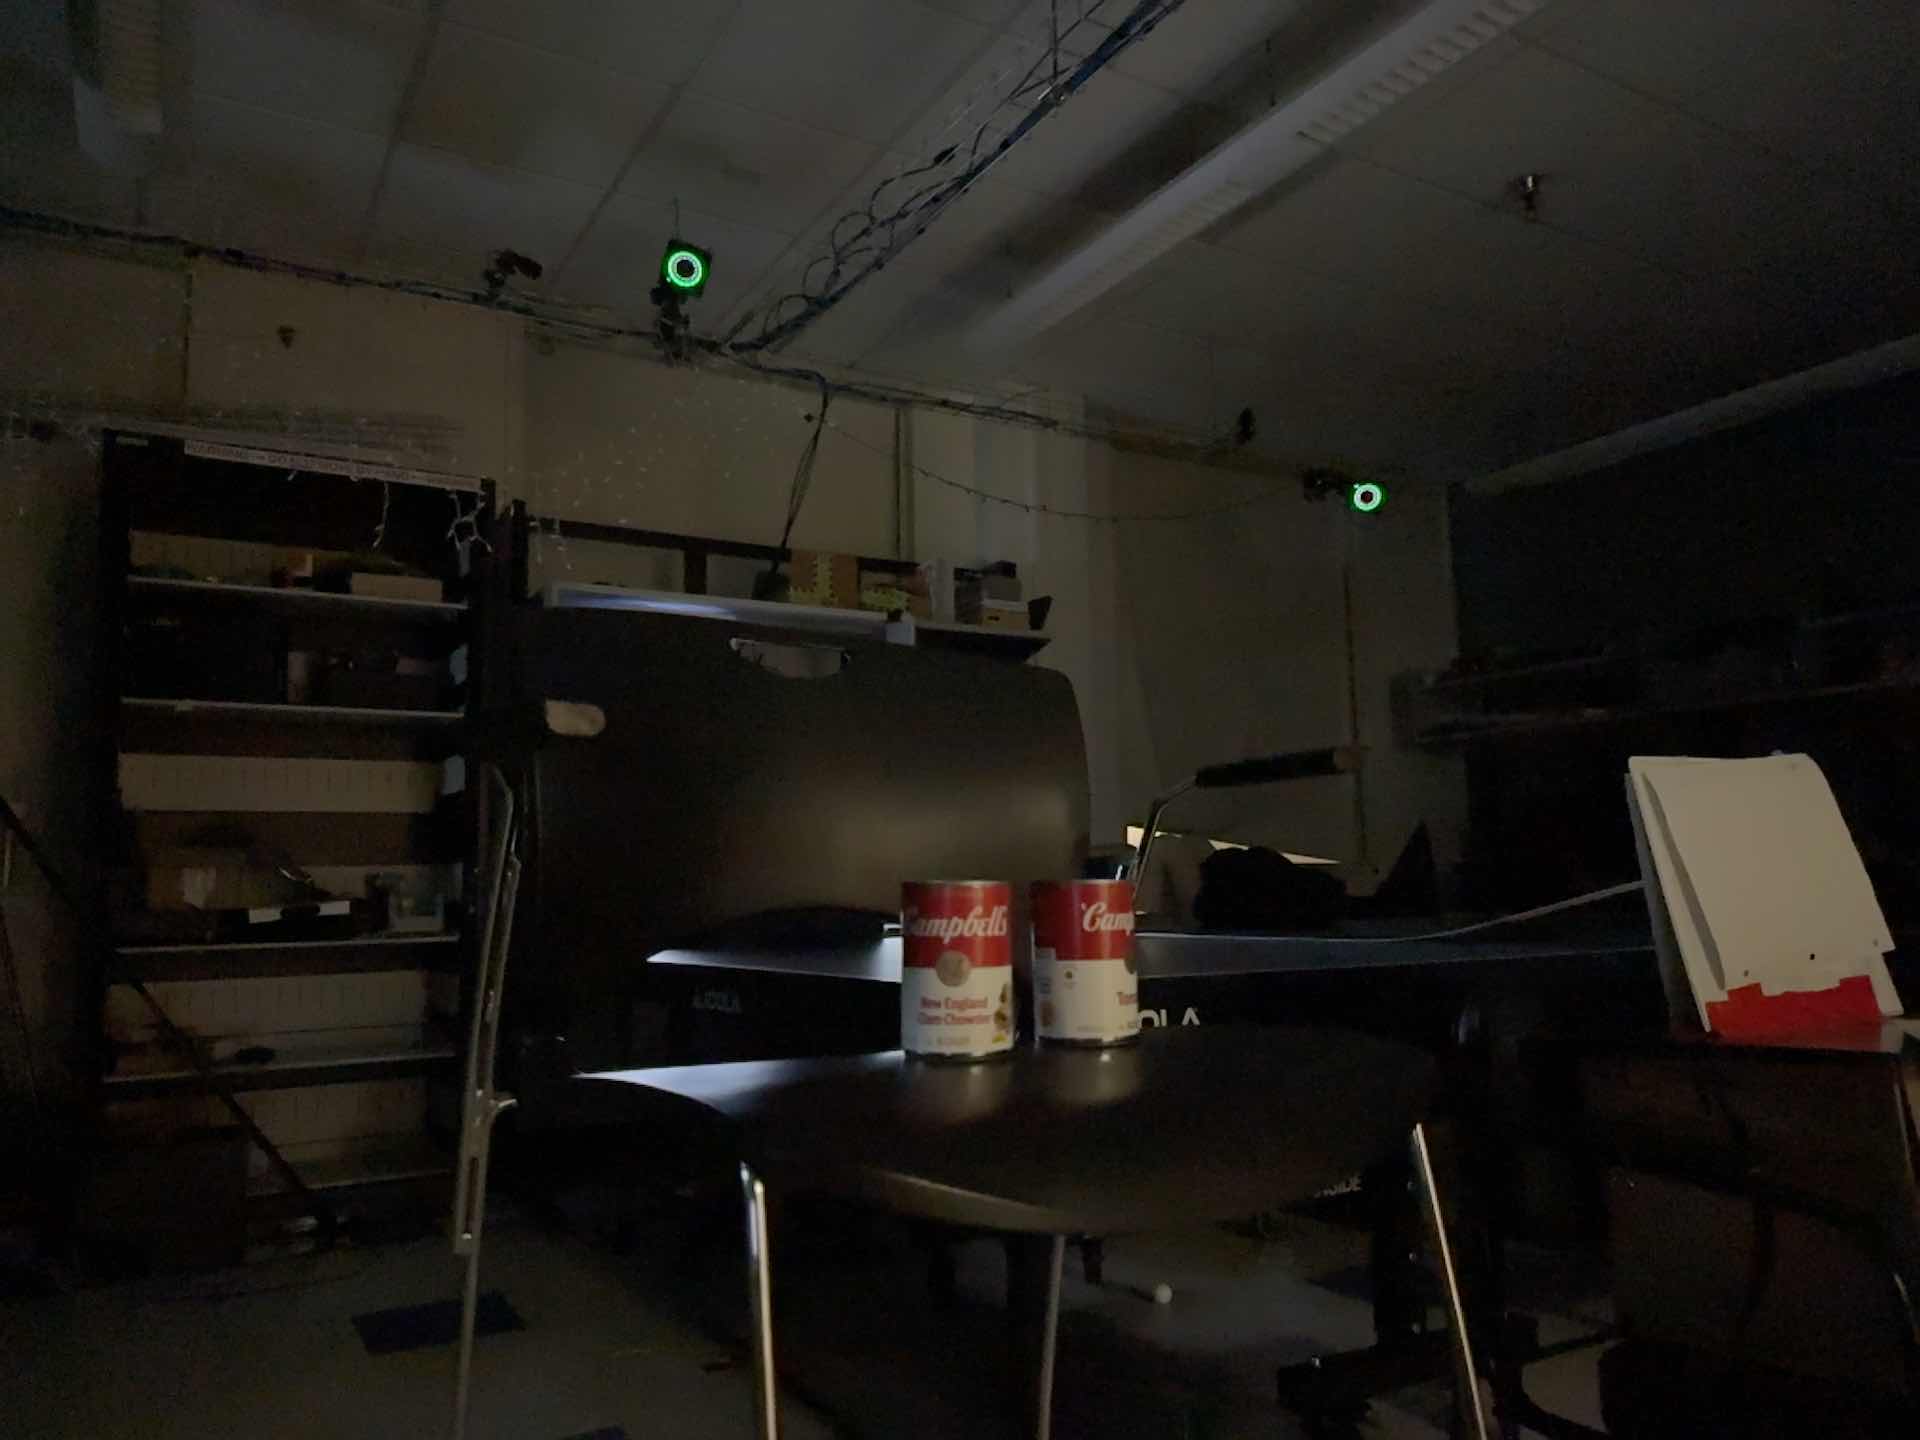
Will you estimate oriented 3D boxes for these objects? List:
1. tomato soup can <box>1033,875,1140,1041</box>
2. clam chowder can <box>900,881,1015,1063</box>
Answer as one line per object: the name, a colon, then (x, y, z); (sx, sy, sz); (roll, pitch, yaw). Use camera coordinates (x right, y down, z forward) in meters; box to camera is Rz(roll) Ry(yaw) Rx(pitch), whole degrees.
tomato soup can: (0.080, 0.151, 0.859); (0.067, 0.102, 0.067); (0, -8, 0)
clam chowder can: (-0.002, 0.147, 0.799); (0.068, 0.102, 0.068); (1, -7, 0)
